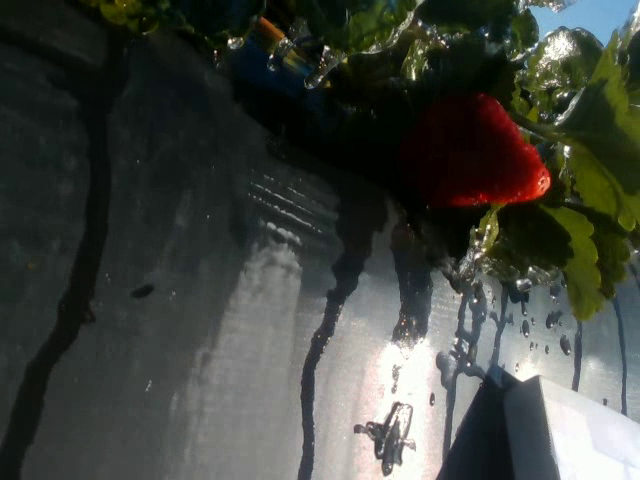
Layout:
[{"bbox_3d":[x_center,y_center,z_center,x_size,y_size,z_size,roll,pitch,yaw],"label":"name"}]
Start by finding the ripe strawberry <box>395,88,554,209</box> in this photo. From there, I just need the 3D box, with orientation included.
[{"bbox_3d":[0.051,-0.023,0.179,0.041,0.047,0.052,22,11,-28],"label":"ripe strawberry"}]
